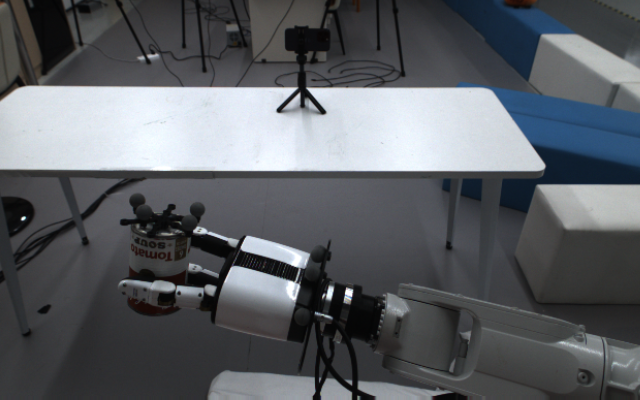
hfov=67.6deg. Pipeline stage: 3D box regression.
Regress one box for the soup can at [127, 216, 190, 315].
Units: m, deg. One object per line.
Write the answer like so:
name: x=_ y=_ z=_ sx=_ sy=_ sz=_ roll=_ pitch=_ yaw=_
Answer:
soup can: x=-0.185 y=0.075 z=0.564 sx=0.067 sy=0.101 sz=0.067 roll=9 pitch=20 yaw=-3
